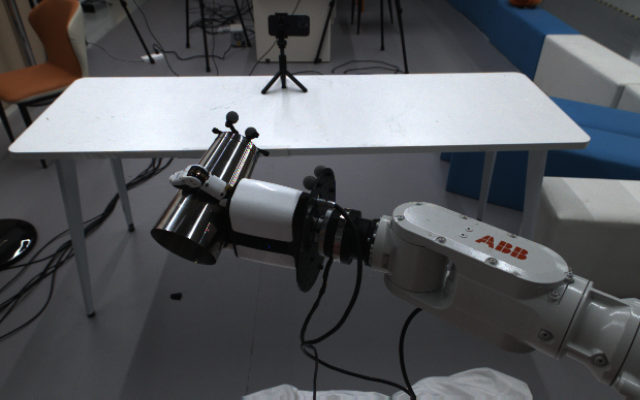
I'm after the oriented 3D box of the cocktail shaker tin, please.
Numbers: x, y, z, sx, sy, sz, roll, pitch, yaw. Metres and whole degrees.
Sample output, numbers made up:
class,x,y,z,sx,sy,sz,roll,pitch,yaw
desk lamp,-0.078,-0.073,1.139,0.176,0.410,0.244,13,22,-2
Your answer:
class,x,y,z,sx,sy,sz,roll,pitch,yaw
cocktail shaker tin,-0.148,-0.007,0.657,0.093,0.093,0.170,14,61,17
